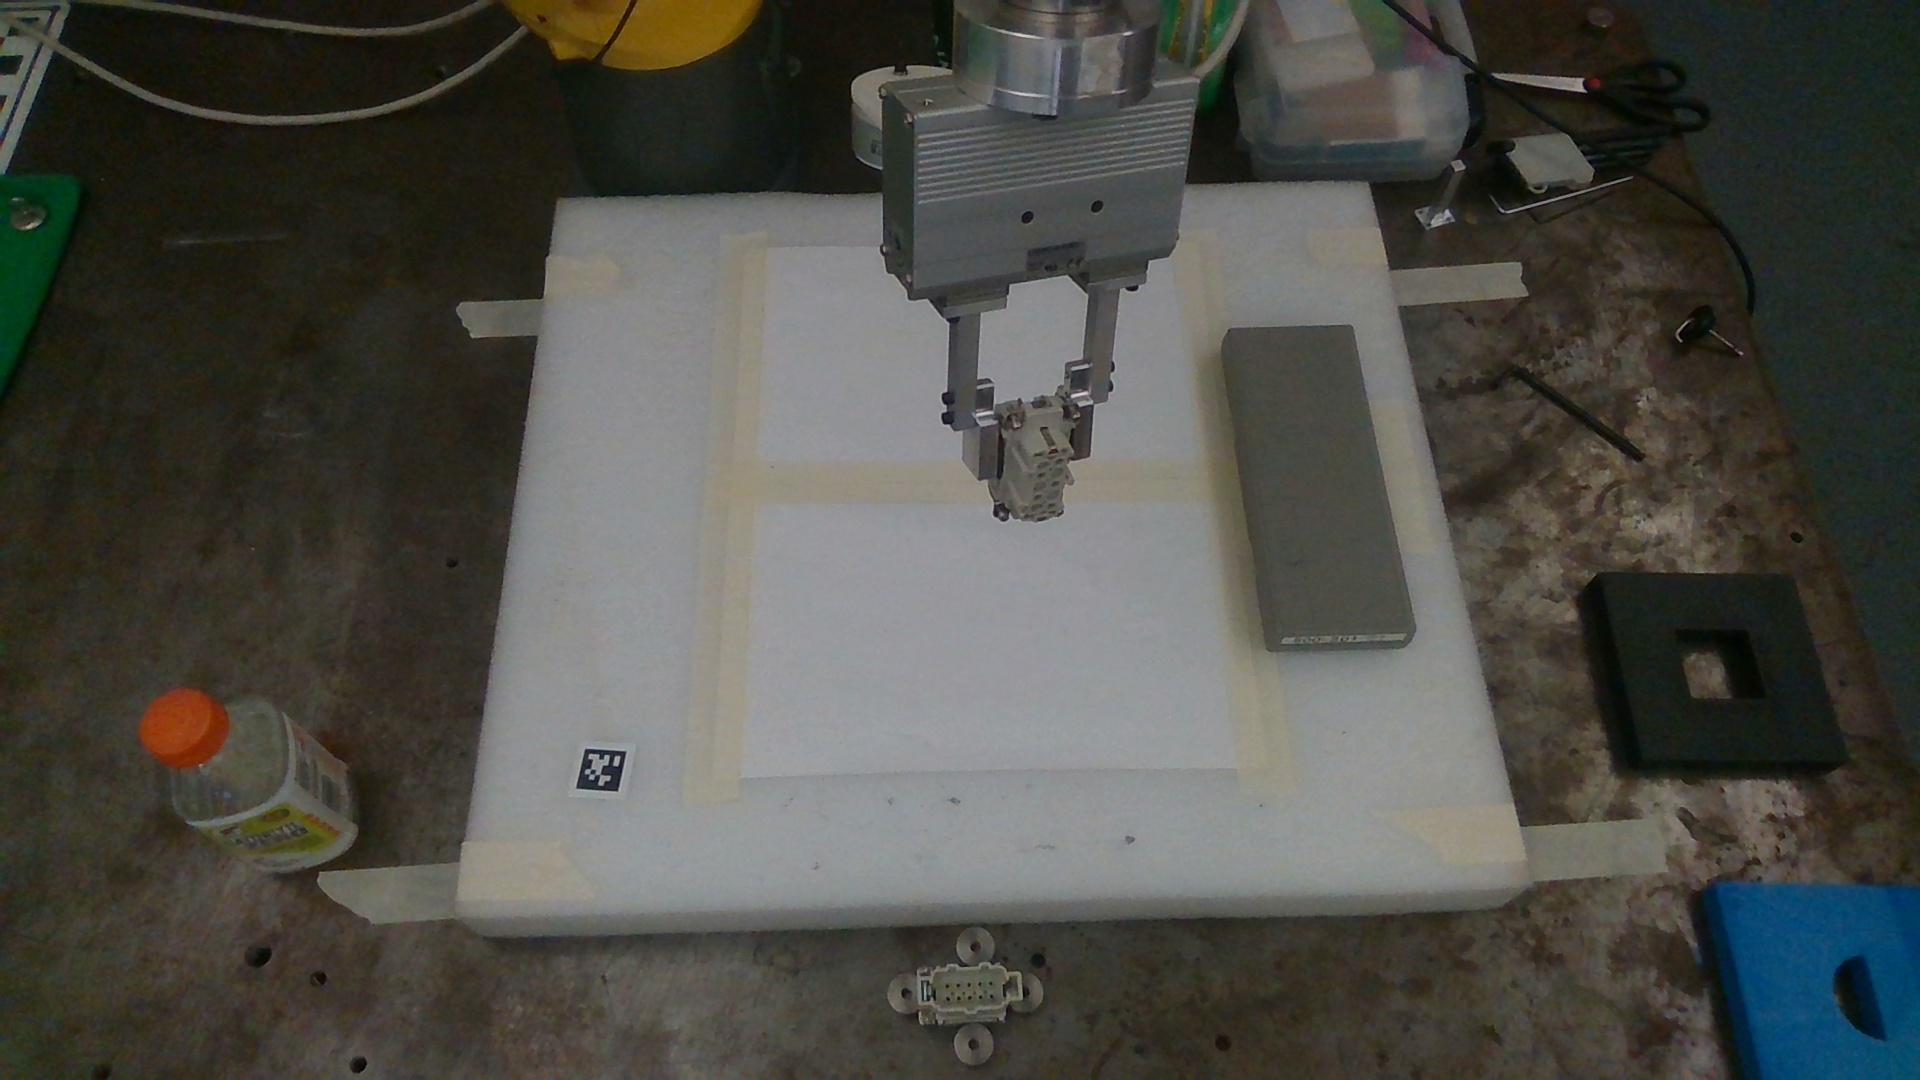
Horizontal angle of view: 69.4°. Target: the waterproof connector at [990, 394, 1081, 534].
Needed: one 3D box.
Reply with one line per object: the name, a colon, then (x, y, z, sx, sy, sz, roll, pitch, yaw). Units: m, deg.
waterproof connector: (0.036, -0.036, 0.645, 0.036, 0.069, 0.039, -9, 39, -14)
